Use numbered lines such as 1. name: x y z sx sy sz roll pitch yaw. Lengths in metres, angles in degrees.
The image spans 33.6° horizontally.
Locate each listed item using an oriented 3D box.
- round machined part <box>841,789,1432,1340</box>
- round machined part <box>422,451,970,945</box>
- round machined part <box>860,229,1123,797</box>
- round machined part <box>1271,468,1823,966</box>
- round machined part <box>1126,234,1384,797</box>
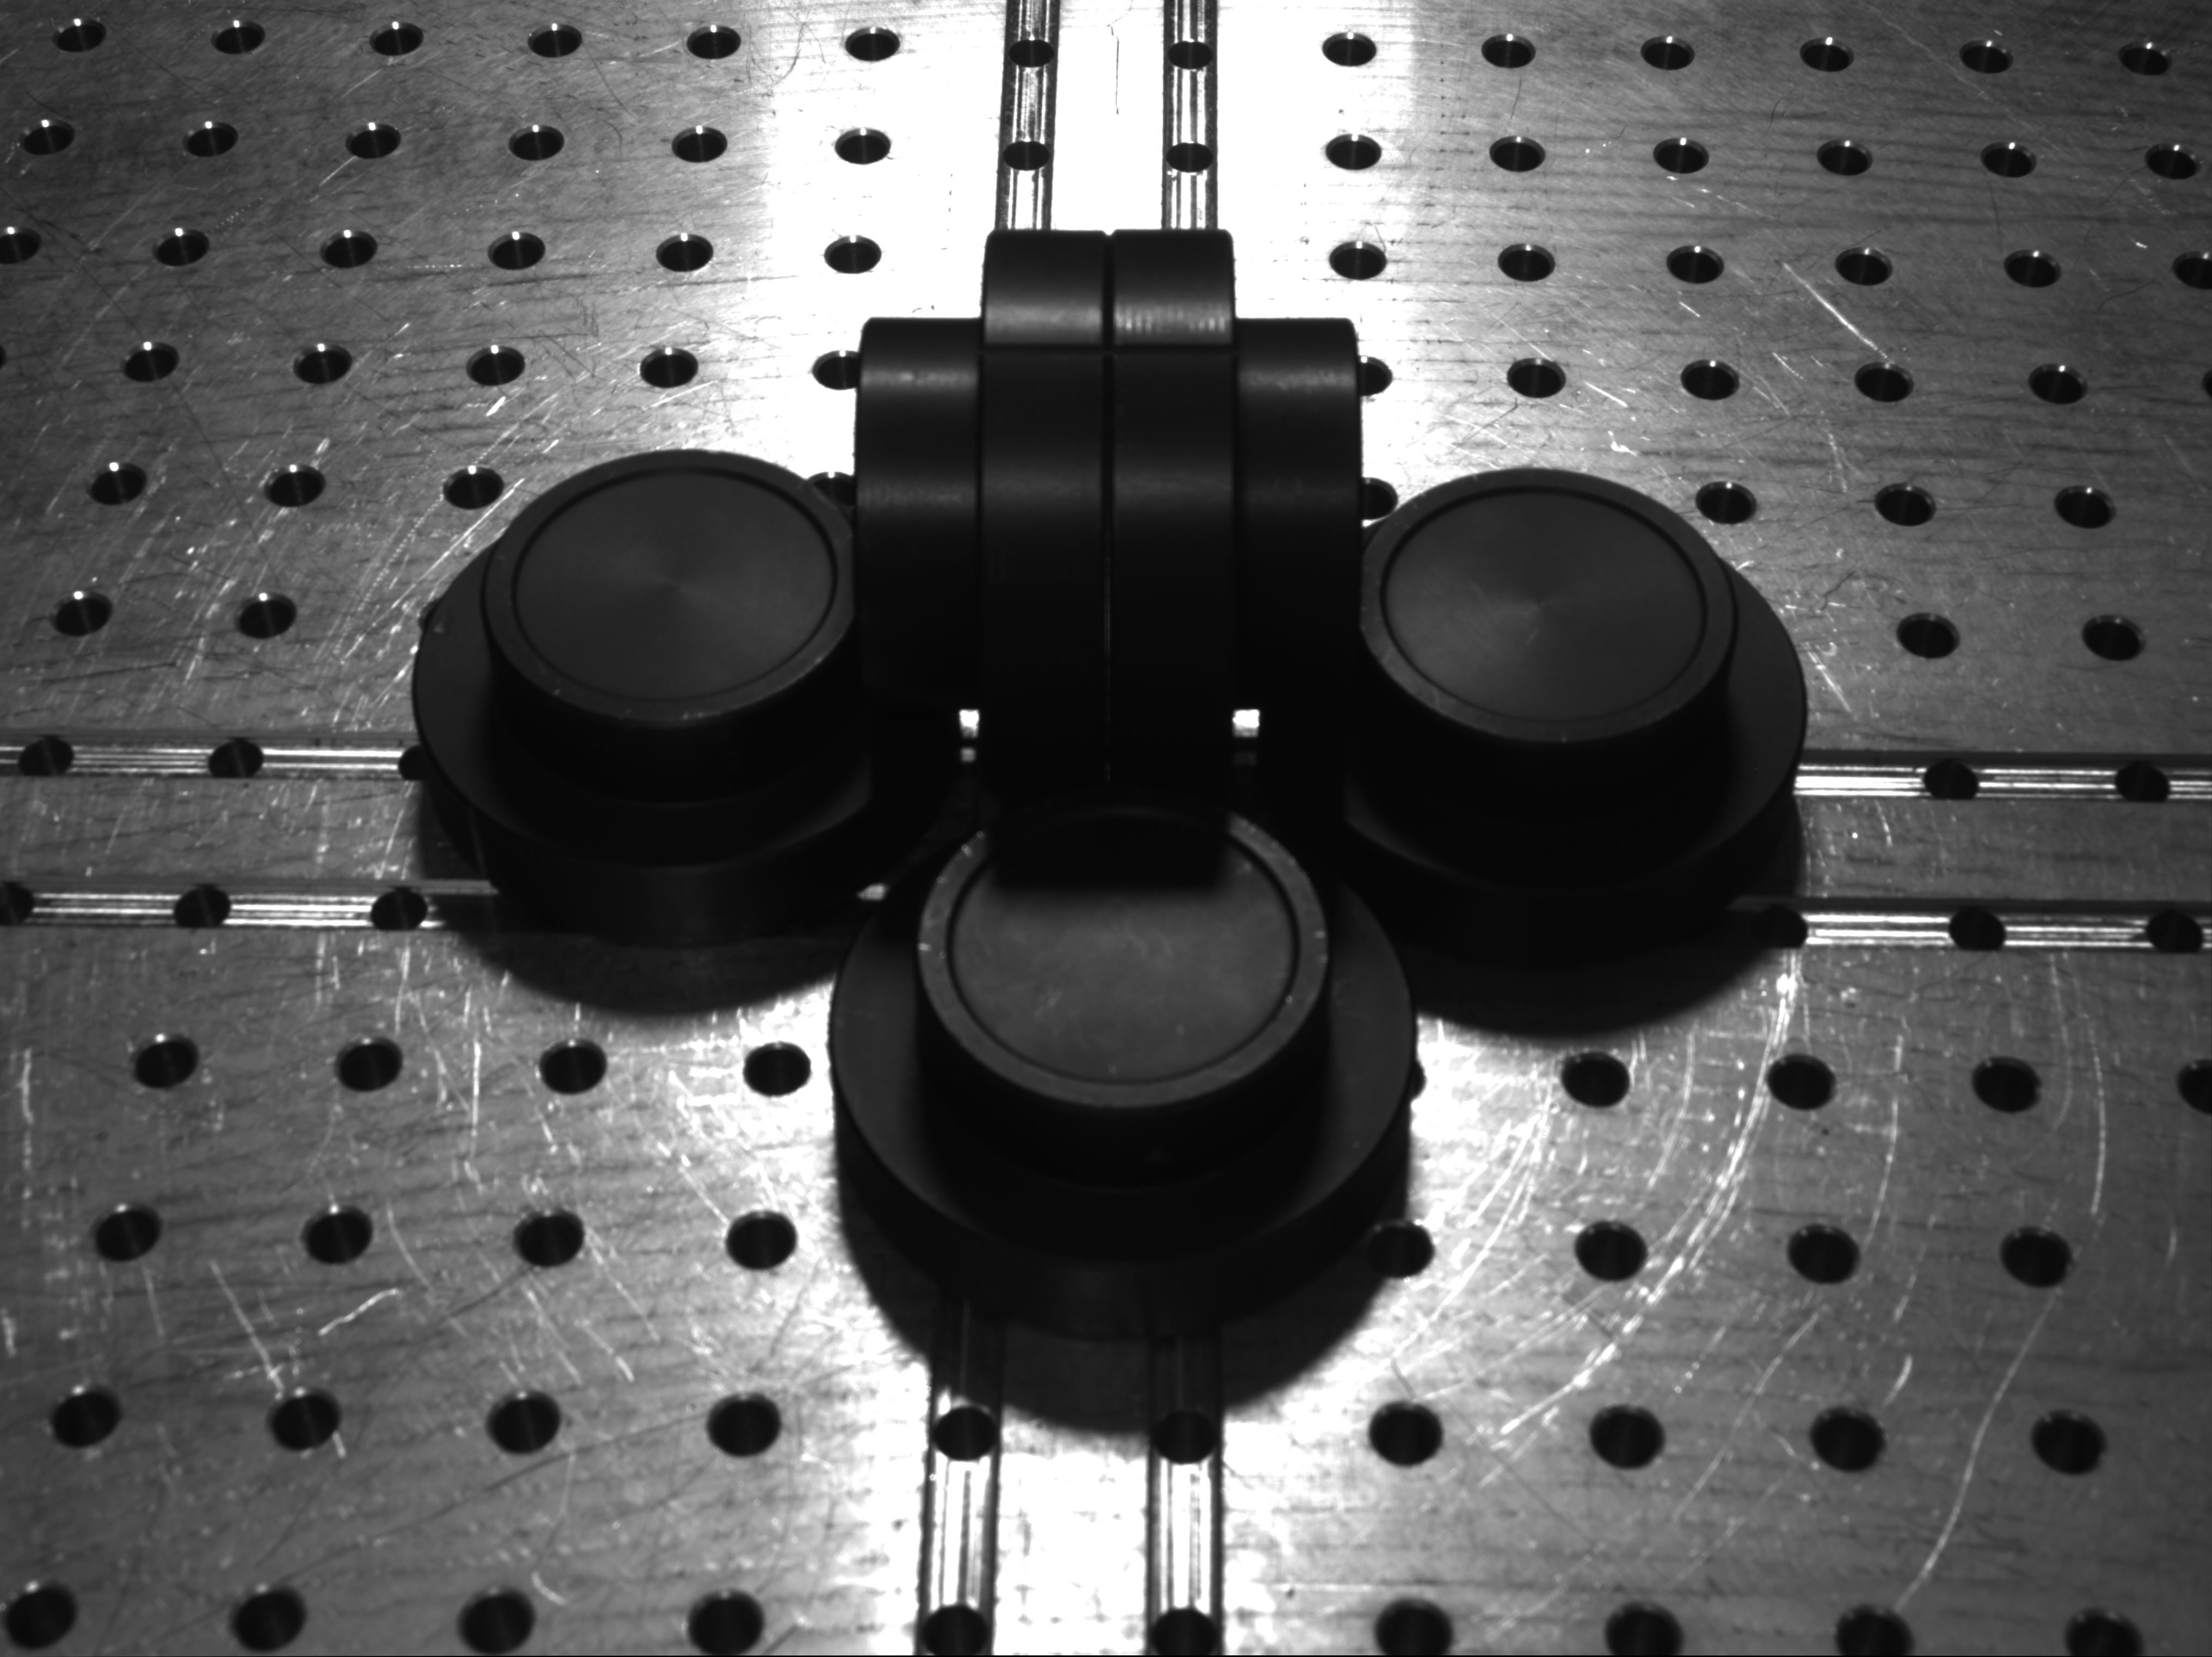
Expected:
1. round machined part: 0.005 0.032 0.607 0.098 0.042 0.098 0 50 0
2. round machined part: -0.074 -0.030 0.659 0.098 0.042 0.098 0 50 0
3. round machined part: -0.019 -0.054 0.635 0.042 0.098 0.098 1 50 1
4. round machined part: 0.079 -0.026 0.655 0.098 0.042 0.098 0 50 0
5. round machined part: 0.025 -0.054 0.636 0.042 0.098 0.098 -1 50 0
